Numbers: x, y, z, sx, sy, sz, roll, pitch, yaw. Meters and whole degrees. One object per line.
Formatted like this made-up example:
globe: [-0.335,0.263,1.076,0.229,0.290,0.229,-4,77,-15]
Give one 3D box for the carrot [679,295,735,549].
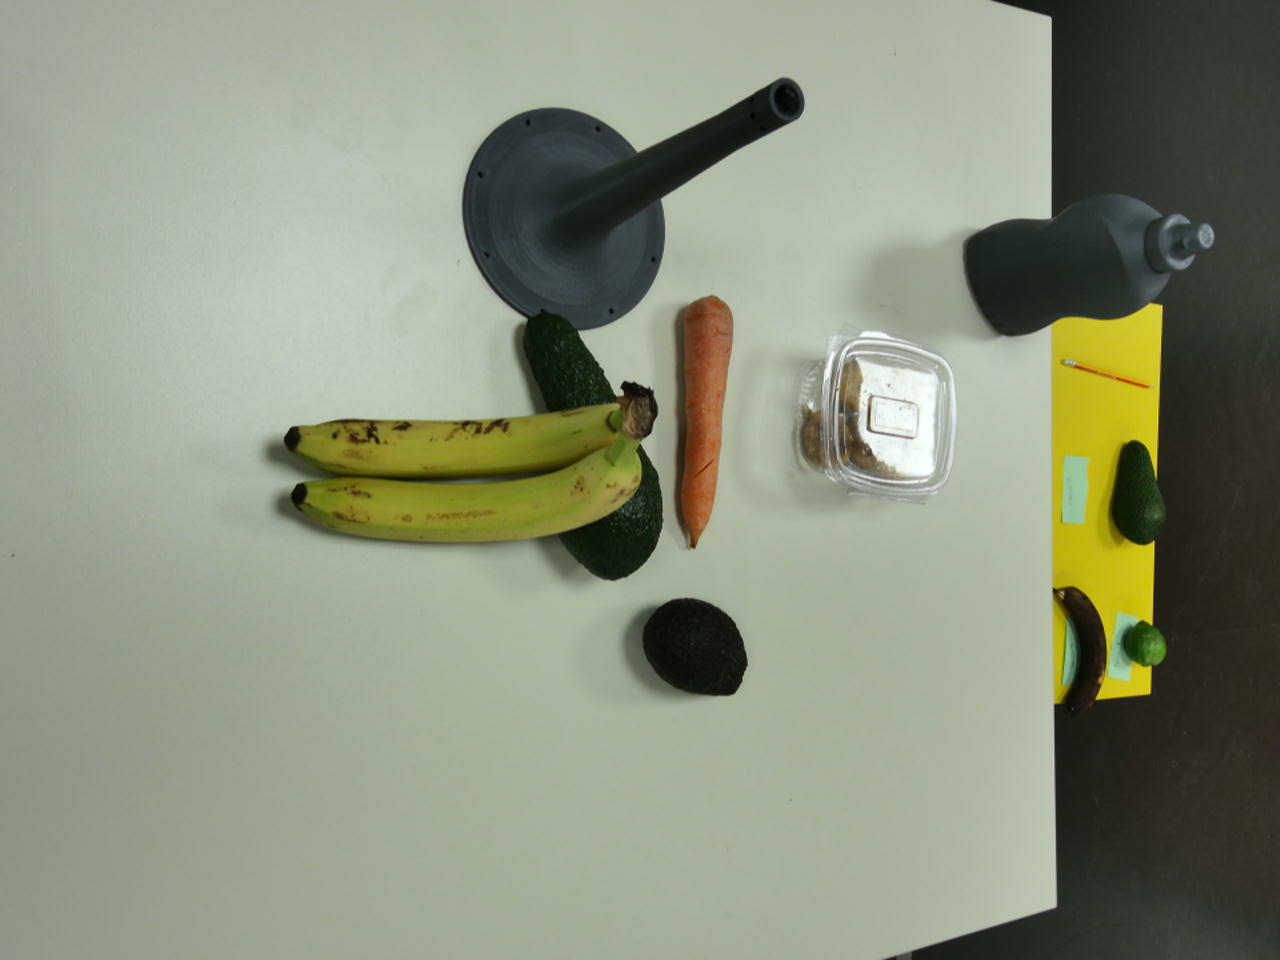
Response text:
carrot: [0.052,-0.042,0.766,0.039,0.041,0.196,1,91,-29]
